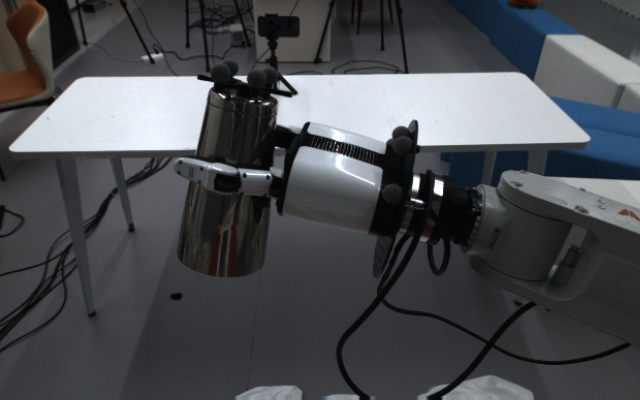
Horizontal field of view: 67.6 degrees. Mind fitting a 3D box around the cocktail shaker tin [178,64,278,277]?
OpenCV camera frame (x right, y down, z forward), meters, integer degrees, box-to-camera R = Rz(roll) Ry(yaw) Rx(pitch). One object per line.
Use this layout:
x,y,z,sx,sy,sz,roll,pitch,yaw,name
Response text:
-0.085,-0.019,0.484,0.093,0.170,0.093,11,19,-4,cocktail shaker tin
